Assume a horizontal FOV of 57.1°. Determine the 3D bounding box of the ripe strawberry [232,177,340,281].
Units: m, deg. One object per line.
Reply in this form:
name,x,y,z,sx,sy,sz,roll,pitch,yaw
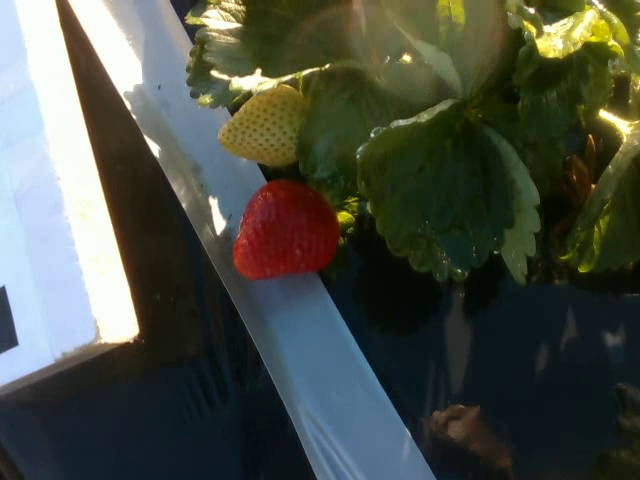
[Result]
ripe strawberry,-0.016,-0.003,0.238,0.045,0.049,0.063,4,28,29
